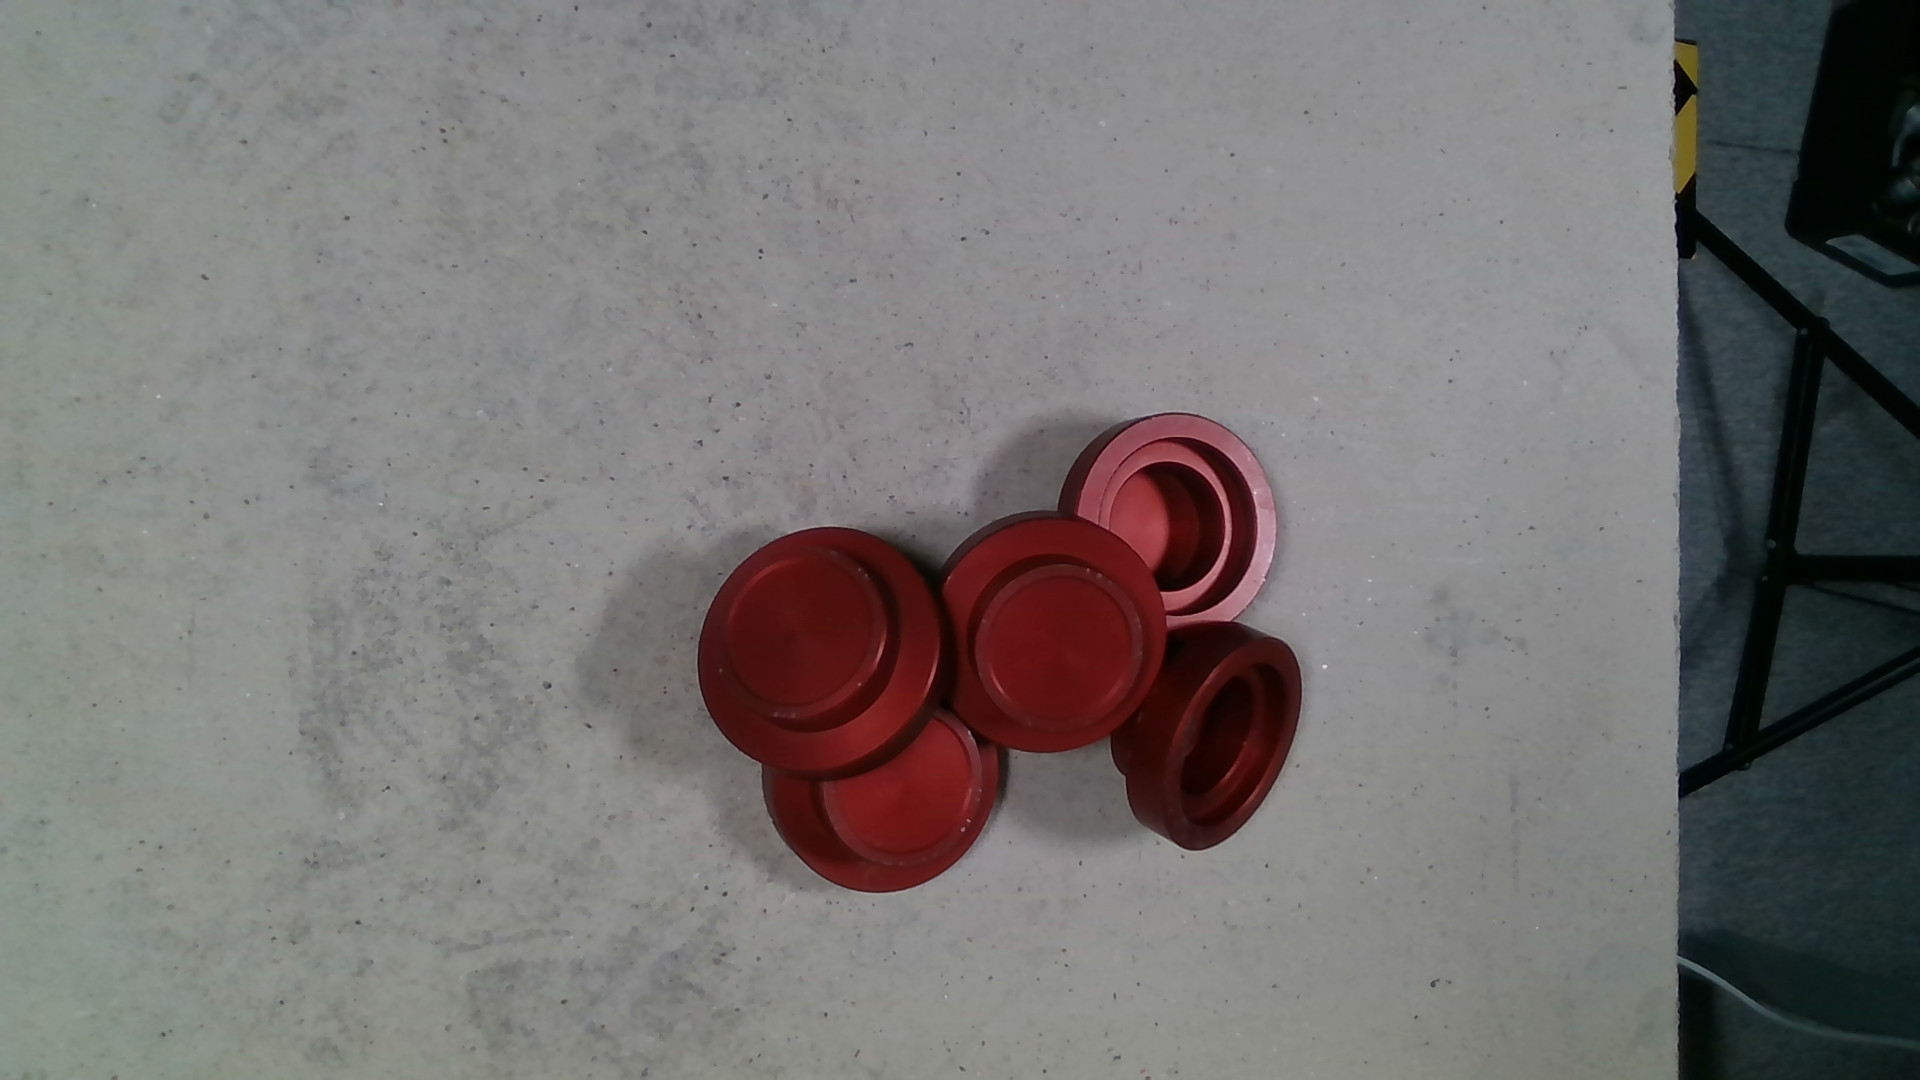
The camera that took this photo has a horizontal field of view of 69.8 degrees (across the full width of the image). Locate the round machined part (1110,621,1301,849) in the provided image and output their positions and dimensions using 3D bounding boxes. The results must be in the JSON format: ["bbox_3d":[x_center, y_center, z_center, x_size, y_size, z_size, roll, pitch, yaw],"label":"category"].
[{"bbox_3d":[0.103,0.081,0.601,0.098,0.042,0.098,-22,122,-39],"label":"round machined part"}]

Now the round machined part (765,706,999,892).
[{"bbox_3d":[-0.029,0.096,0.566,0.098,0.042,0.098,0,90,-20],"label":"round machined part"}]

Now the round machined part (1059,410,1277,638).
[{"bbox_3d":[0.087,-0.007,0.609,0.098,0.042,0.098,0,90,-20],"label":"round machined part"}]

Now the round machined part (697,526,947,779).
[{"bbox_3d":[-0.056,0.040,0.530,0.098,0.042,0.098,-4,70,12],"label":"round machined part"}]

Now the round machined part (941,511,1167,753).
[{"bbox_3d":[0.037,0.039,0.556,0.098,0.042,0.098,-1,98,-10],"label":"round machined part"}]
